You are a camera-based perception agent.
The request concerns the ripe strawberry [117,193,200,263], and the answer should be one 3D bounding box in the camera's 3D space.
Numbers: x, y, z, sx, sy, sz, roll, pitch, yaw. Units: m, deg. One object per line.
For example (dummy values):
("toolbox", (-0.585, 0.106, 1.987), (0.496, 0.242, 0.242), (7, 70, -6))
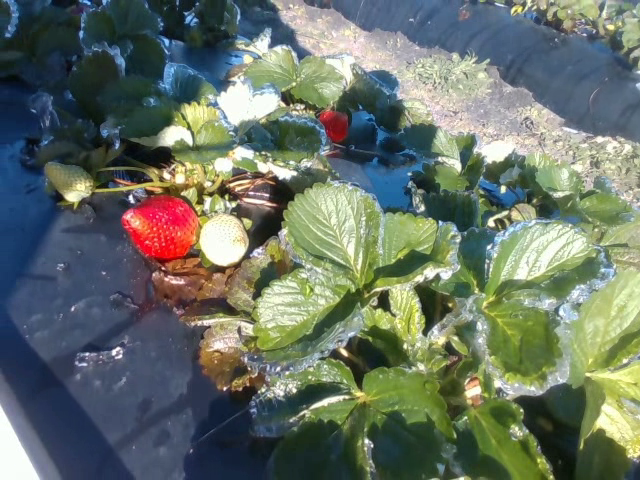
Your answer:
("ripe strawberry", (-0.087, -0.008, 0.329), (0.040, 0.042, 0.053), (3, -6, 17))
